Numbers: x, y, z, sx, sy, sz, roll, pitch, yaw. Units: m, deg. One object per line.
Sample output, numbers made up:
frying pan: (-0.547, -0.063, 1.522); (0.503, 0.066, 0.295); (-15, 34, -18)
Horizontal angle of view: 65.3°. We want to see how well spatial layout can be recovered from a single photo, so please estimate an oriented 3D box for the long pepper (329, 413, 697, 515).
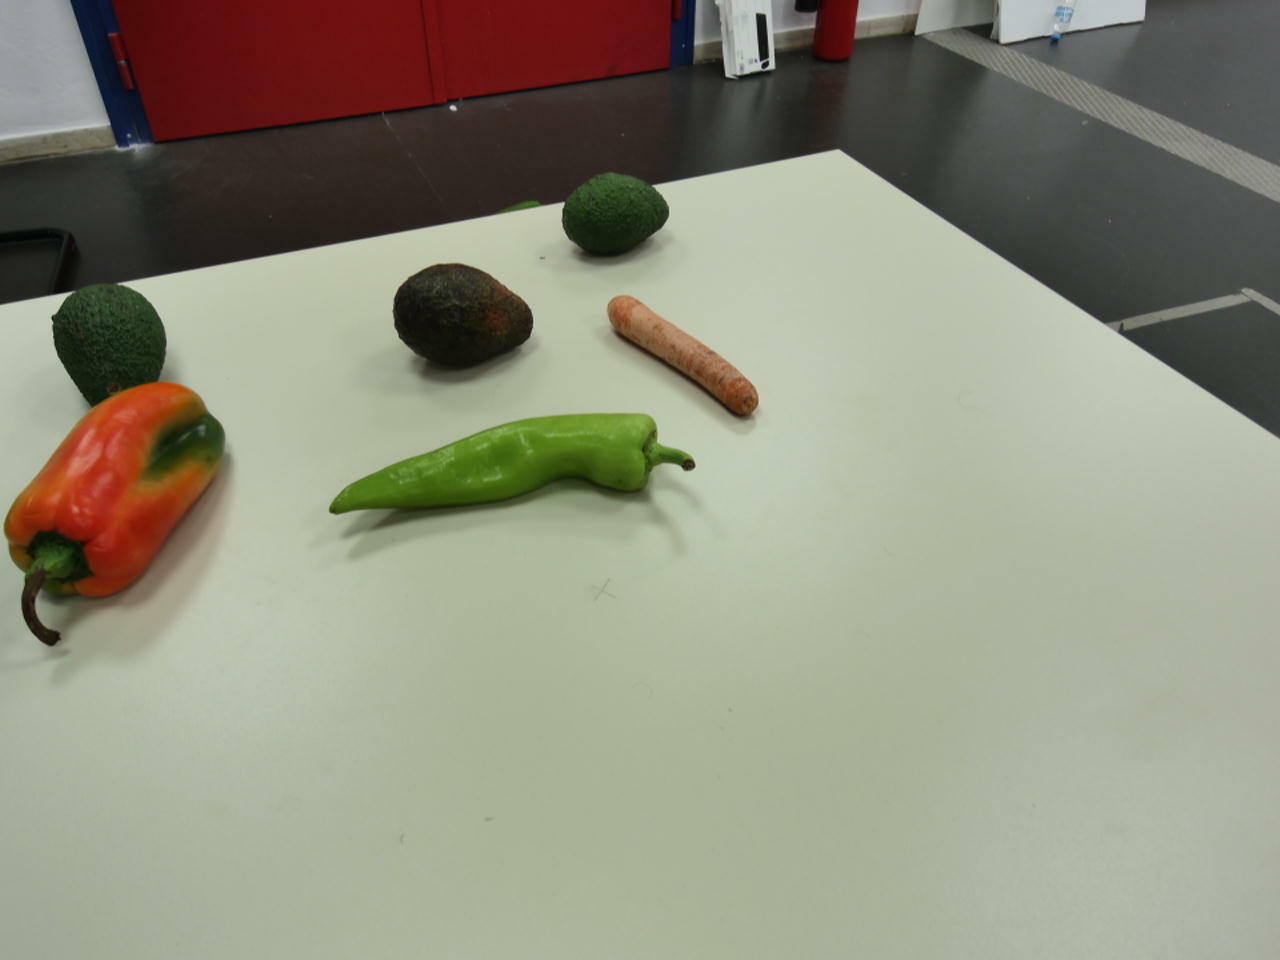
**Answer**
long pepper: (-0.073, -0.011, 0.582); (0.204, 0.045, 0.065); (-5, 39, -7)
